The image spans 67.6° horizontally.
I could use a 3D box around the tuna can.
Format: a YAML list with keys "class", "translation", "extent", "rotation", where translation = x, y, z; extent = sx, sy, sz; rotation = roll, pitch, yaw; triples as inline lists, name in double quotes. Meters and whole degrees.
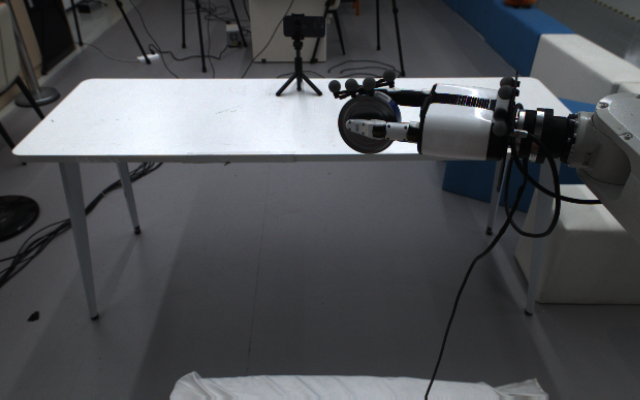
- class: "tuna can"
  translation: [0.072, -0.112, 0.689]
  extent: [0.085, 0.085, 0.034]
  rotation: [13, 28, 15]
